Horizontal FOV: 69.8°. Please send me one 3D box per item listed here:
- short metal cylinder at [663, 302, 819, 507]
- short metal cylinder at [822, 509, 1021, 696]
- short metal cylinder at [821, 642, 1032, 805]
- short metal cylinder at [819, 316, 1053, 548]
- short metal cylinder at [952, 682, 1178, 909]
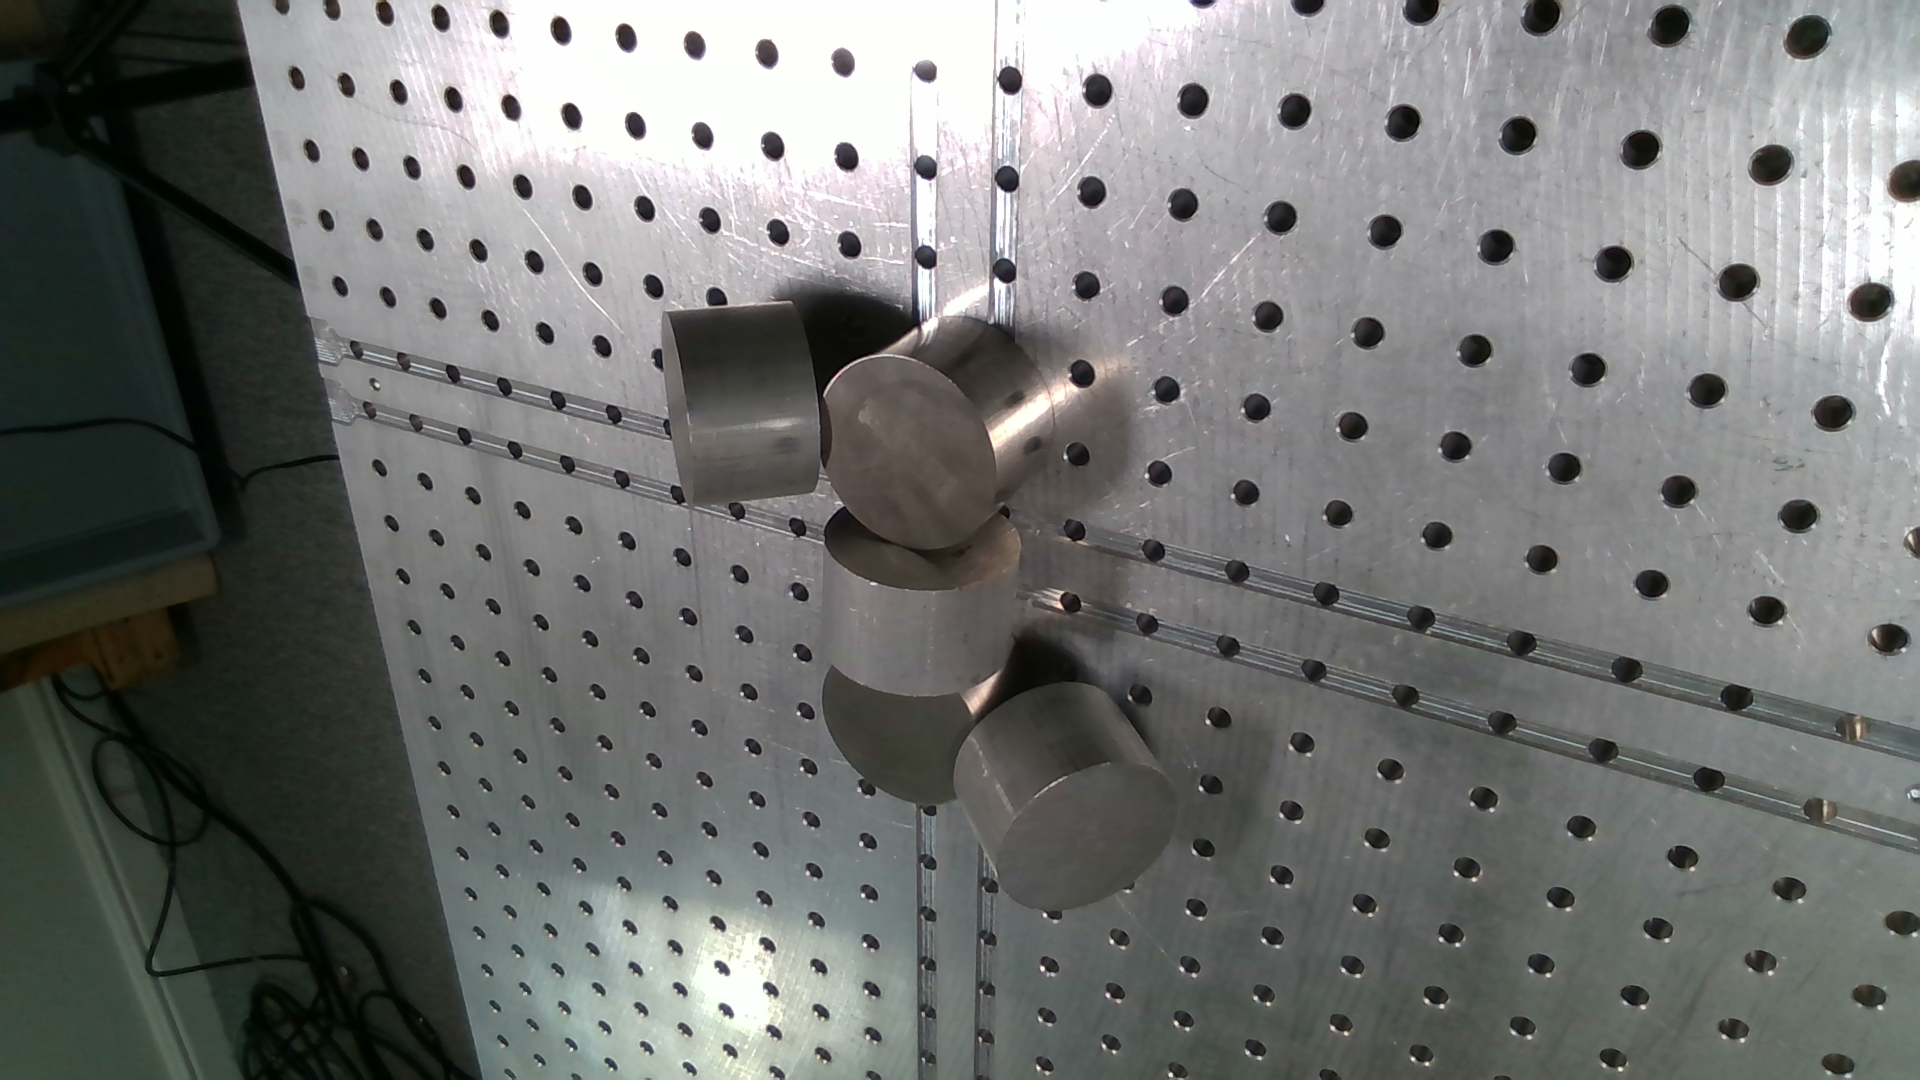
[{"bbox_3d":[-0.091,-0.056,0.565,0.080,0.050,0.080,171,91,-74],"label":"short metal cylinder"},{"bbox_3d":[-0.017,0.020,0.569,0.080,0.080,0.050,19,123,22],"label":"short metal cylinder"},{"bbox_3d":[-0.014,0.070,0.613,0.080,0.050,0.080,14,122,25],"label":"short metal cylinder"},{"bbox_3d":[-0.010,-0.044,0.548,0.080,0.050,0.080,14,122,25],"label":"short metal cylinder"},{"bbox_3d":[0.043,0.106,0.571,0.050,0.080,0.080,-122,33,-50],"label":"short metal cylinder"}]
